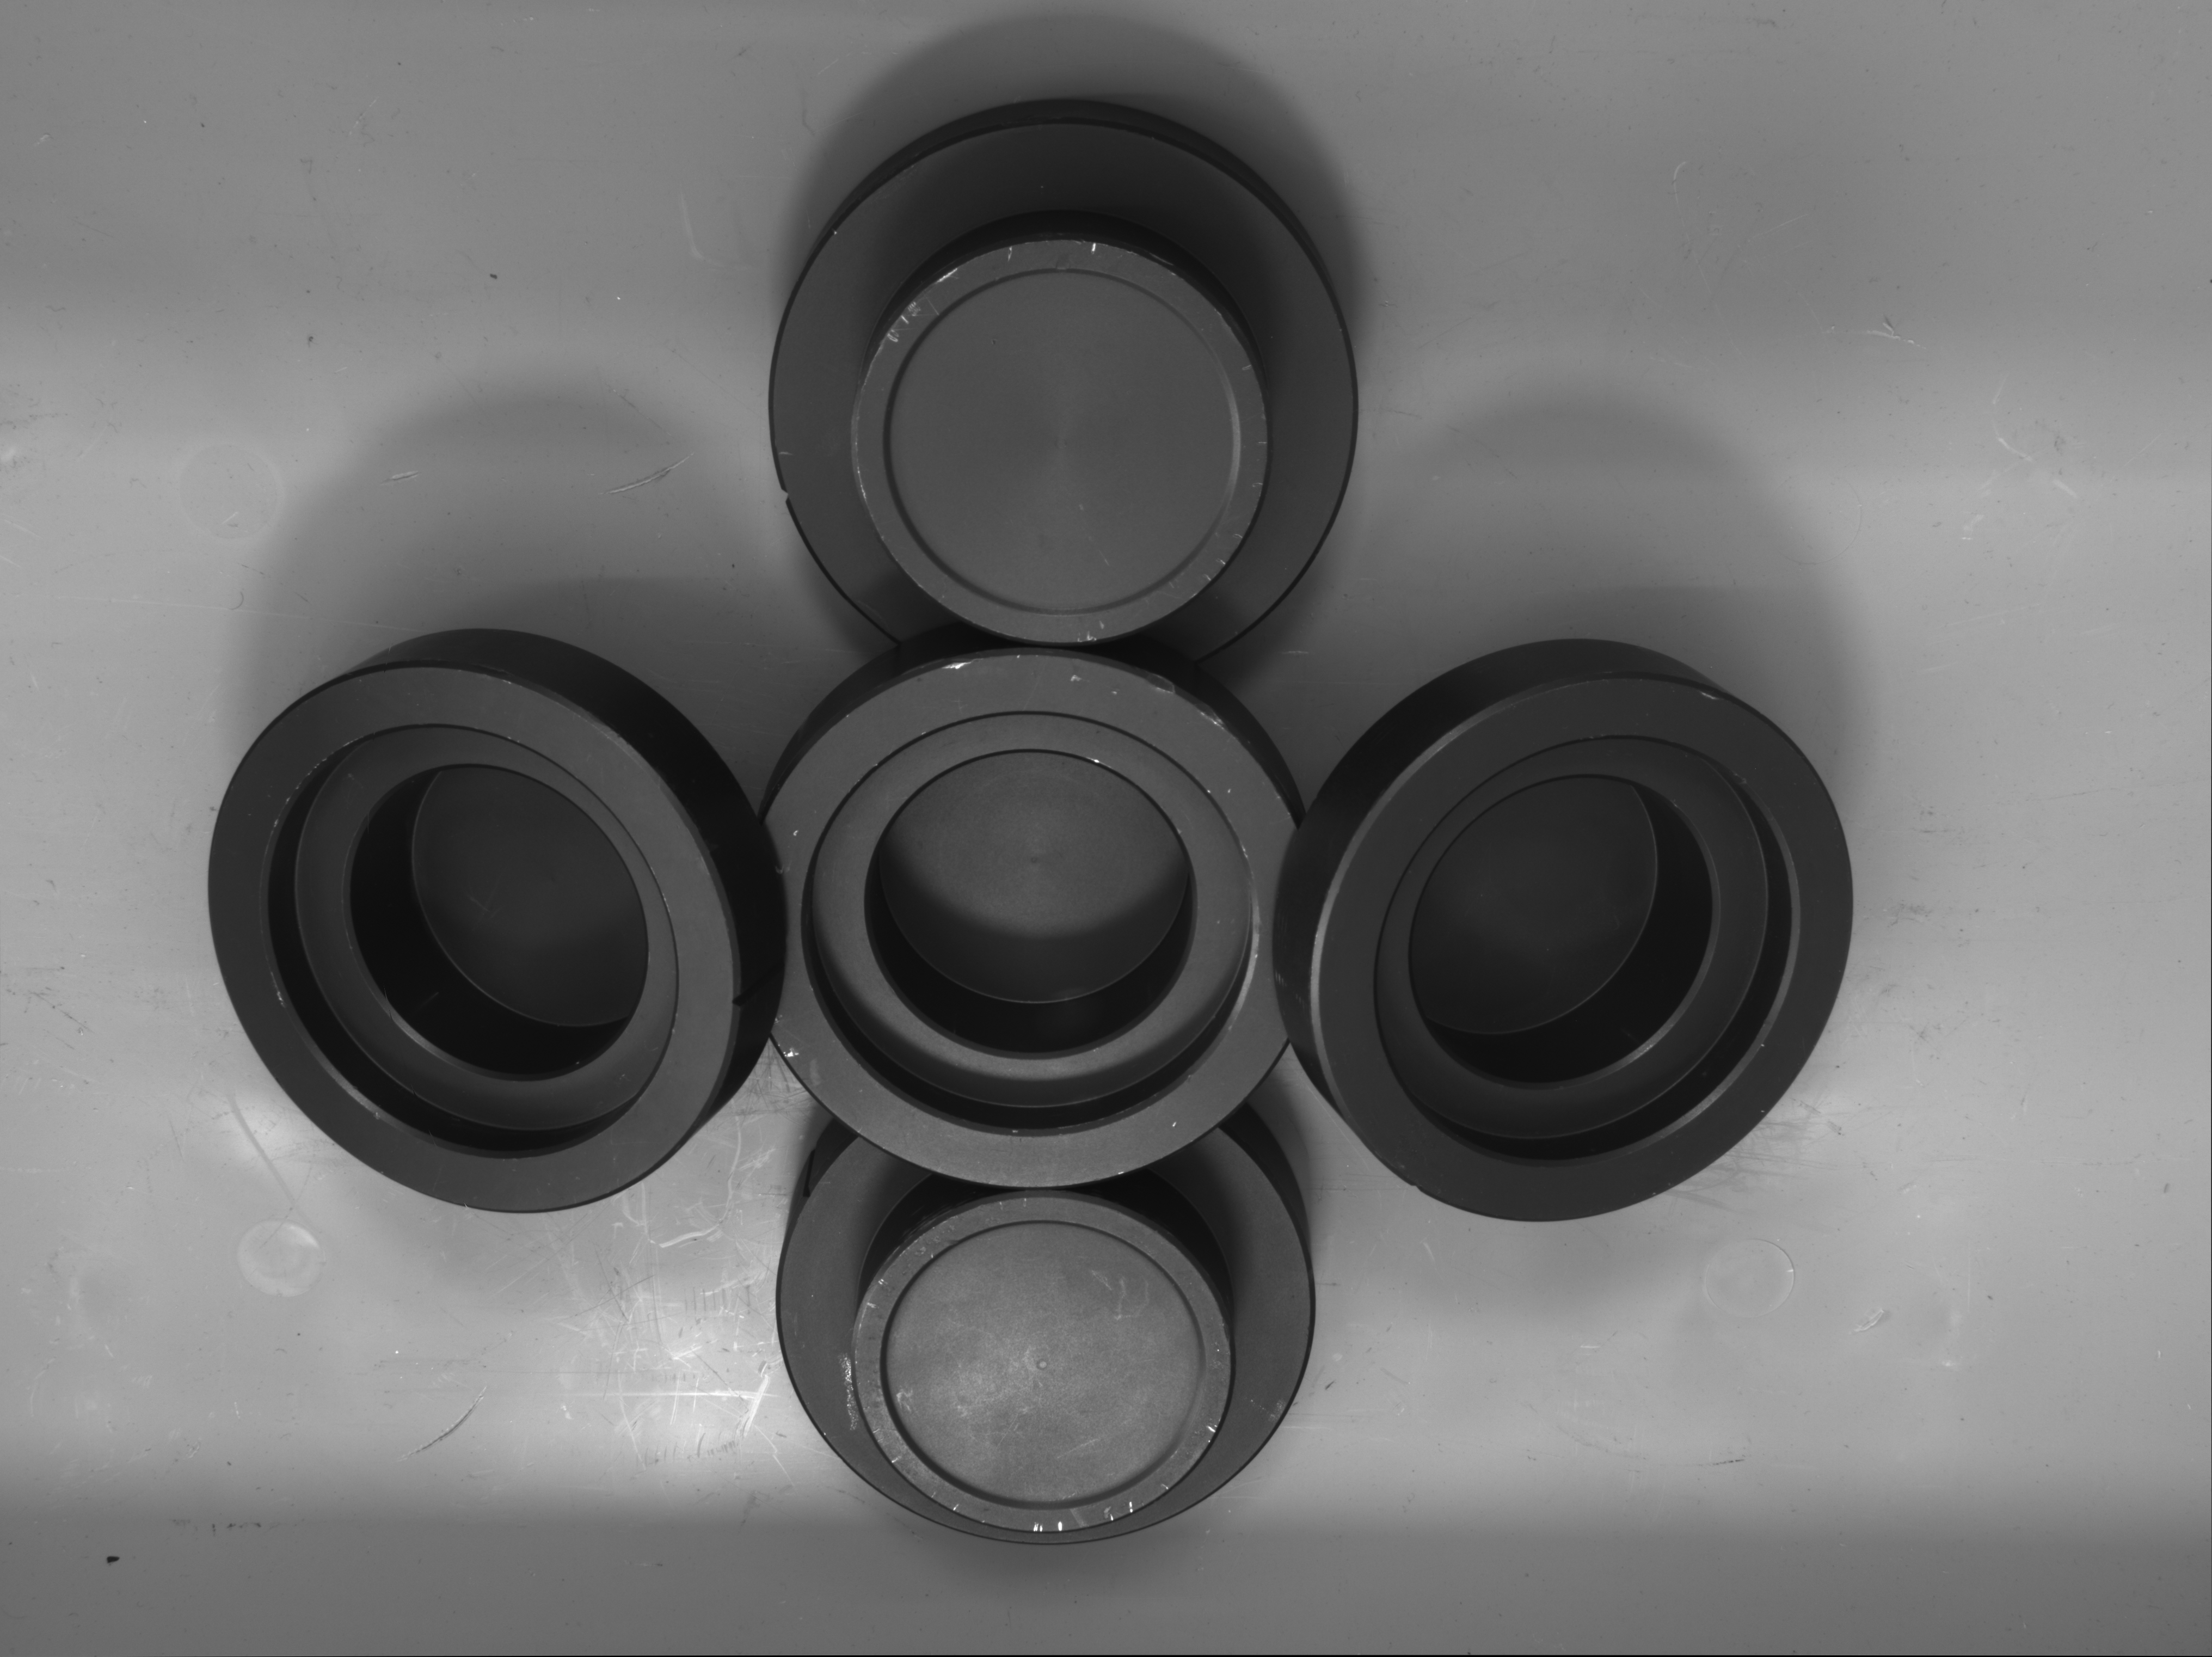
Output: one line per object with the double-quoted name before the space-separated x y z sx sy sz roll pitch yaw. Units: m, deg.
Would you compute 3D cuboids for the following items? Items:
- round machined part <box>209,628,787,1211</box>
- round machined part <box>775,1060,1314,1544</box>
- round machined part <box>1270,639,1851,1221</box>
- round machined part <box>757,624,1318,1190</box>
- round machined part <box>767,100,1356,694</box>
"round machined part" -0.100 0.012 0.629 0.098 0.042 0.098 6 111 16
"round machined part" -0.011 0.088 0.665 0.098 0.042 0.098 0 110 0
"round machined part" 0.074 0.014 0.630 0.098 0.042 0.098 -6 111 -15
"round machined part" -0.013 0.010 0.636 0.098 0.042 0.098 0 110 0
"round machined part" -0.007 -0.068 0.608 0.098 0.042 0.098 0 110 0
